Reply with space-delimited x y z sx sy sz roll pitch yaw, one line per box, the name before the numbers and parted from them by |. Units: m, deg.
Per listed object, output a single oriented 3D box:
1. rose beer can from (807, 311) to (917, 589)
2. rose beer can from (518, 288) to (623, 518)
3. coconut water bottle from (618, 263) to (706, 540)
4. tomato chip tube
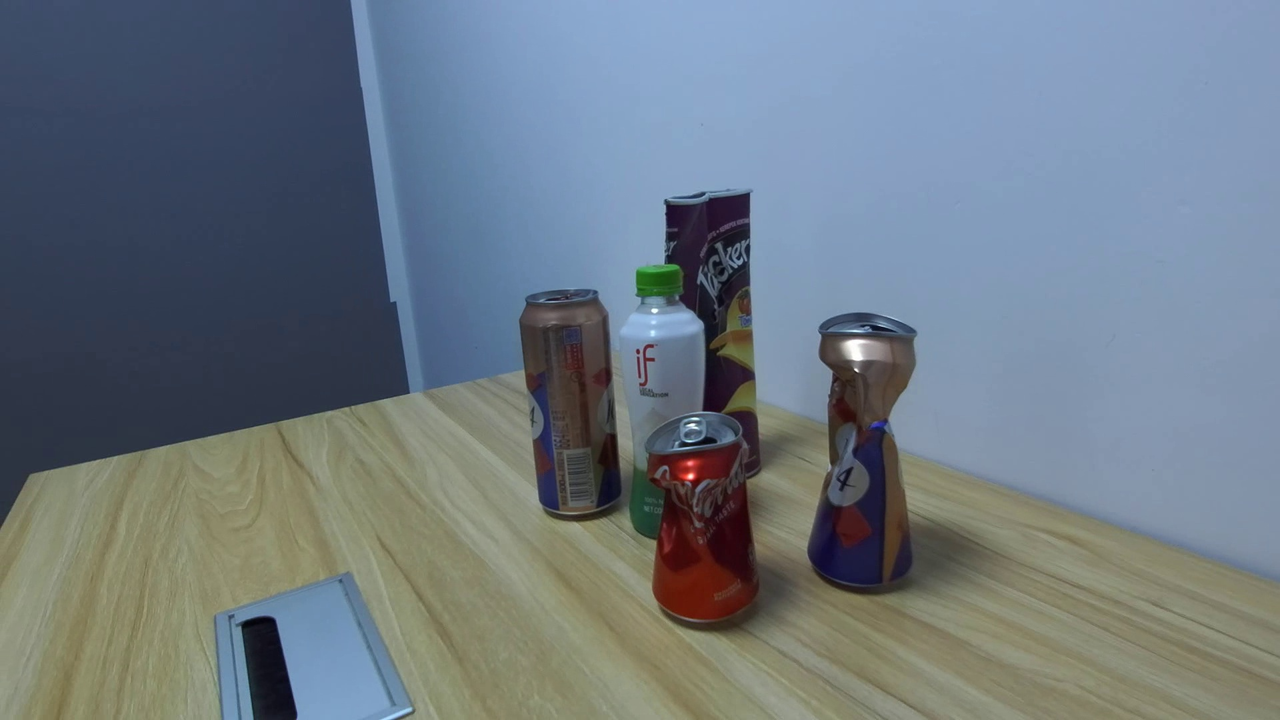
rose beer can | 0.135 0.056 0.431 0.068 0.162 0.073 -11 19 -27
rose beer can | -0.052 0.035 0.546 0.068 0.169 0.068 -4 14 1
coconut water bottle | 0.018 0.029 0.501 0.063 0.188 0.063 -3 15 1
tomato chip tube | 0.060 -0.018 0.581 0.090 0.236 0.078 -4 16 -8
